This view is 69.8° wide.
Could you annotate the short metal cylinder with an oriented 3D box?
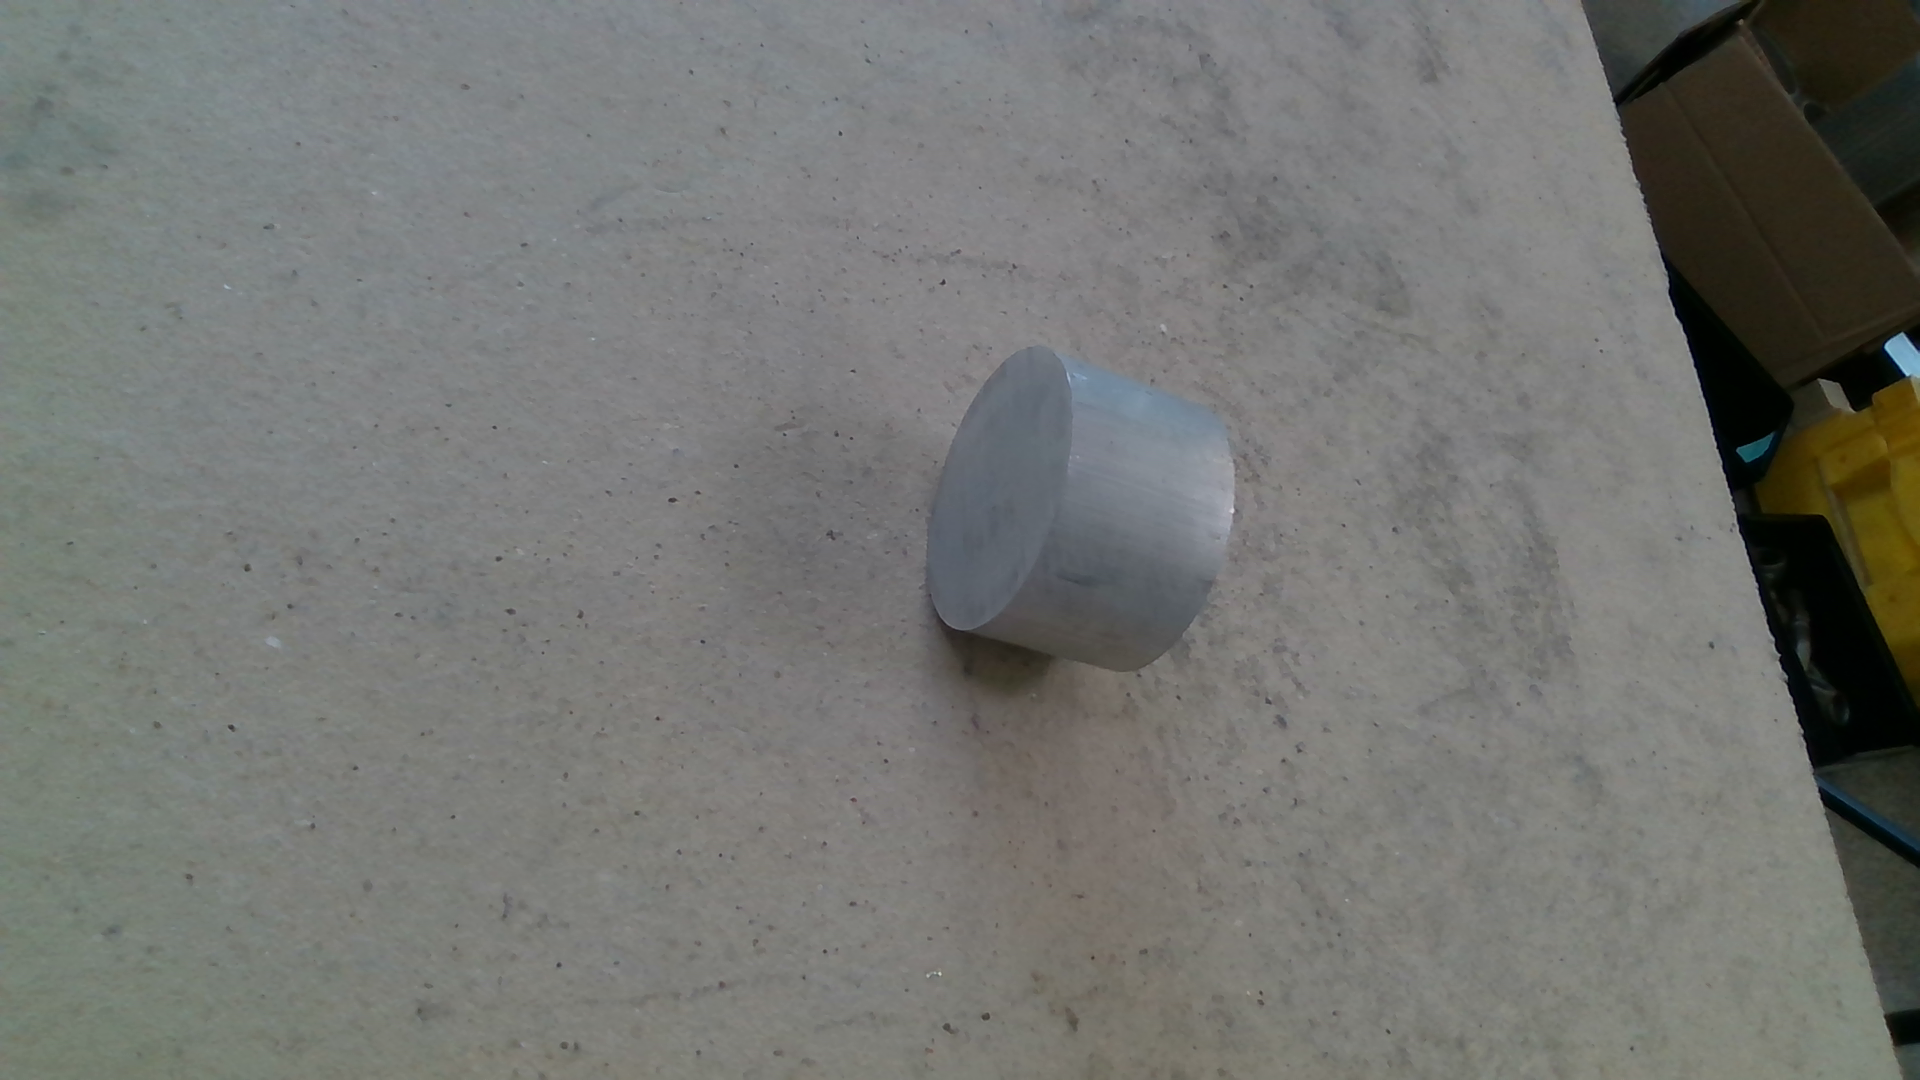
[{"bbox_3d":[0.031,-0.008,0.382,0.050,0.080,0.080,16,58,-24],"label":"short metal cylinder"}]
